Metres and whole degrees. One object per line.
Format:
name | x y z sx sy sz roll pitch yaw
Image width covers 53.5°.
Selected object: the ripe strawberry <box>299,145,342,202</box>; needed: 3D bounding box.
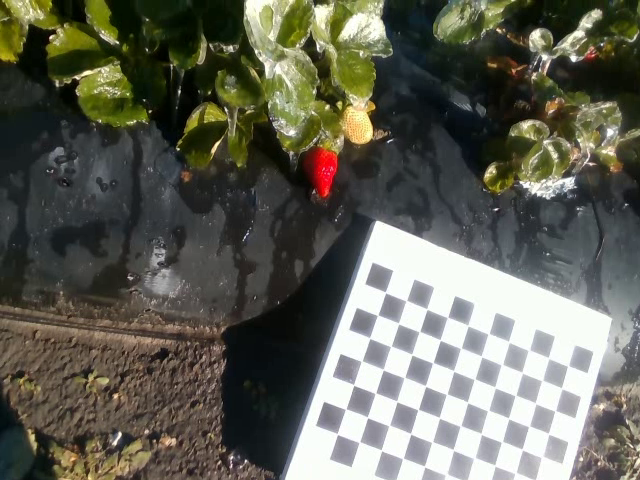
ripe strawberry | 0.006 -0.067 0.629 0.041 0.052 0.040 4 -14 -14
